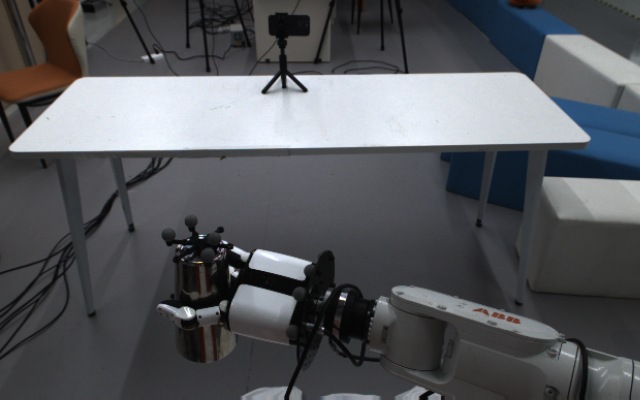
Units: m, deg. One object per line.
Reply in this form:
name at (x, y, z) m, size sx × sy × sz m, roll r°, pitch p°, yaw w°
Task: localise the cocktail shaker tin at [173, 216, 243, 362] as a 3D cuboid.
cocktail shaker tin at (-0.163, 0.137, 0.679) m, size 0.093 × 0.170 × 0.093 m, roll 3°, pitch 31°, yaw -2°
